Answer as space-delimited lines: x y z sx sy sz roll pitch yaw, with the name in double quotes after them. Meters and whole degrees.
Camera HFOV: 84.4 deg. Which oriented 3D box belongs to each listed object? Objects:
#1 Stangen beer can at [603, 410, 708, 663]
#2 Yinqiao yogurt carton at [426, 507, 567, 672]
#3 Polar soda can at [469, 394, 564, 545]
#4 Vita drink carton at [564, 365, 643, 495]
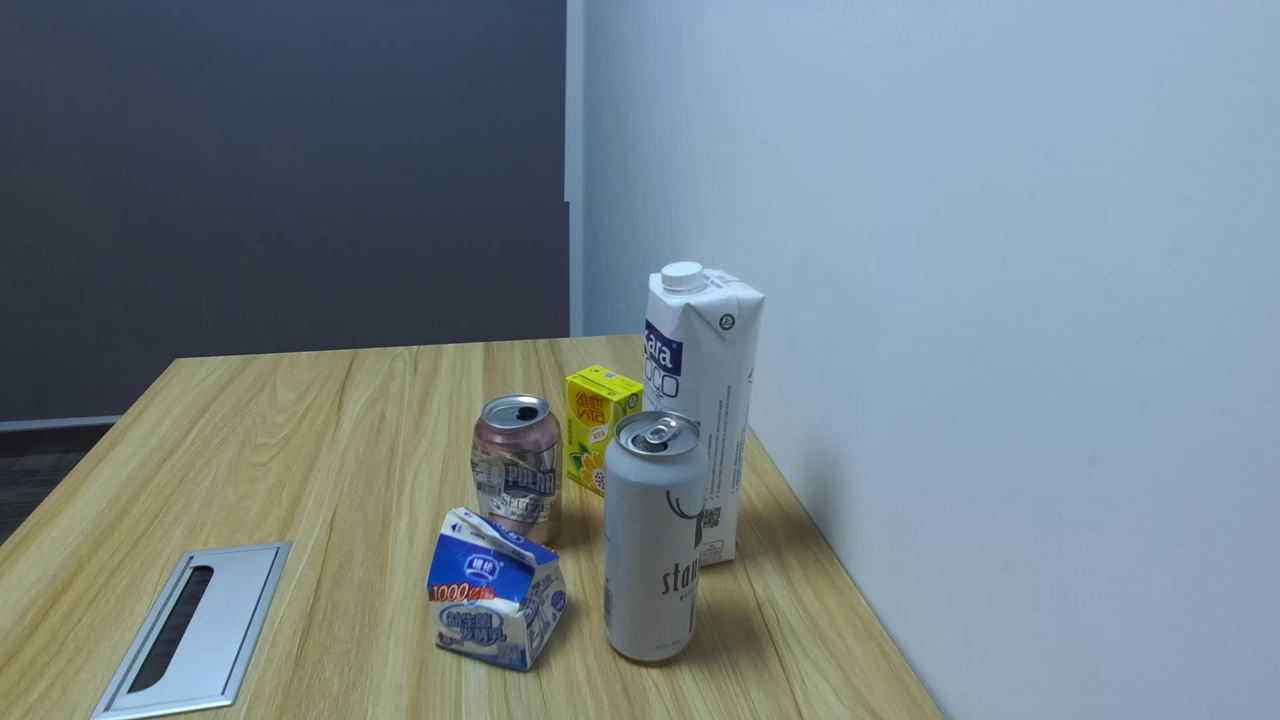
0.009 0.121 0.478 0.067 0.171 0.067 2 26 -1 "Stangen beer can"
-0.102 0.151 0.499 0.083 0.093 0.077 8 25 15 "Yinqiao yogurt carton"
-0.098 0.096 0.590 0.067 0.122 0.074 -17 28 -32 "Polar soda can"
-0.032 0.067 0.657 0.066 0.109 0.044 24 33 36 "Vita drink carton"
